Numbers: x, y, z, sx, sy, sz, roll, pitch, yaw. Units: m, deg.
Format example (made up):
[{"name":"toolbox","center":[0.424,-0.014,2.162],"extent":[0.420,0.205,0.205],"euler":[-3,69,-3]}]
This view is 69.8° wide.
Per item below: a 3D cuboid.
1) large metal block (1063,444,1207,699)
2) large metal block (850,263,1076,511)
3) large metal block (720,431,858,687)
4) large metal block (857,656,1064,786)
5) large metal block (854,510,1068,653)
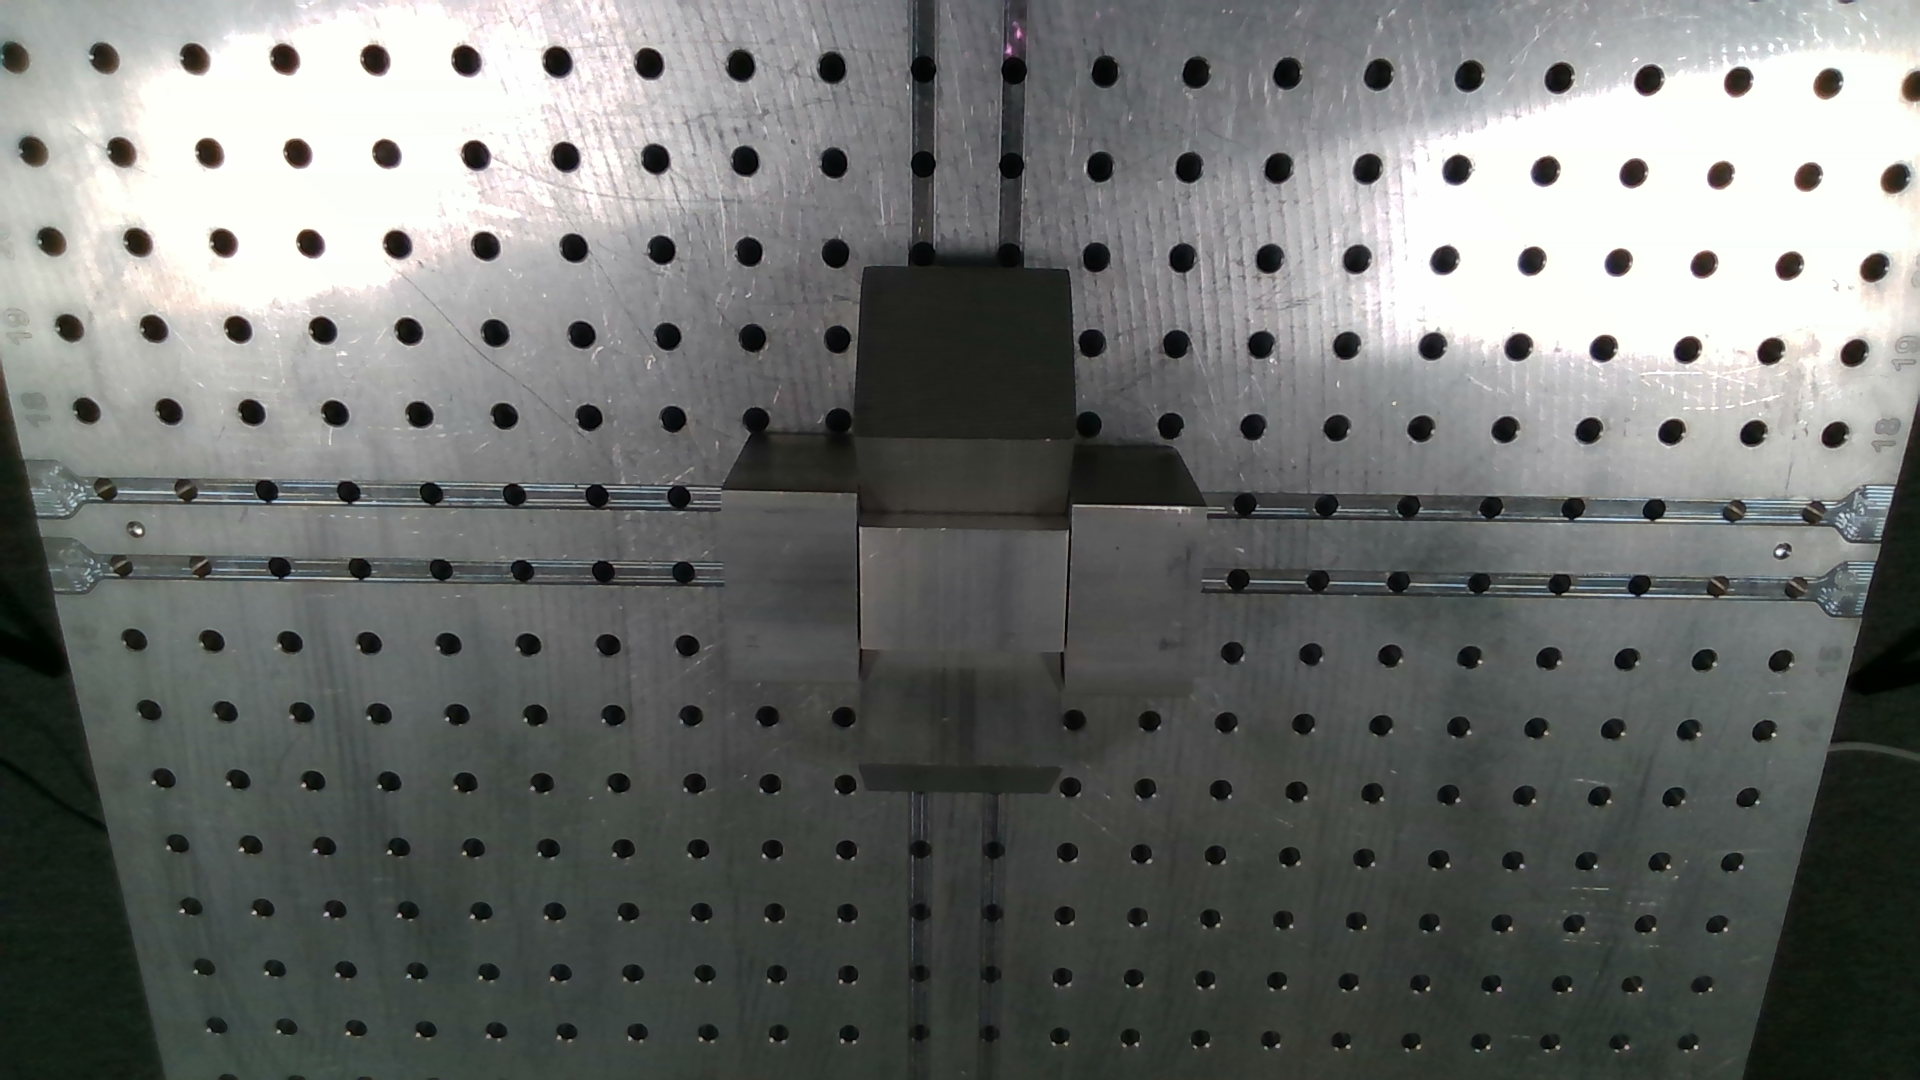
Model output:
[{"name":"large metal block","center":[0.066,0.010,0.560],"extent":[0.050,0.080,0.080],"euler":[1,110,0]},{"name":"large metal block","center":[0.002,-0.059,0.530],"extent":[0.080,0.080,0.050],"euler":[1,149,0]},{"name":"large metal block","center":[-0.064,0.005,0.559],"extent":[0.050,0.080,0.080],"euler":[1,110,0]},{"name":"large metal block","center":[0.000,0.074,0.576],"extent":[0.080,0.080,0.050],"euler":[1,73,-1]},{"name":"large metal block","center":[0.000,0.006,0.559],"extent":[0.080,0.080,0.050],"euler":[1,110,0]}]
